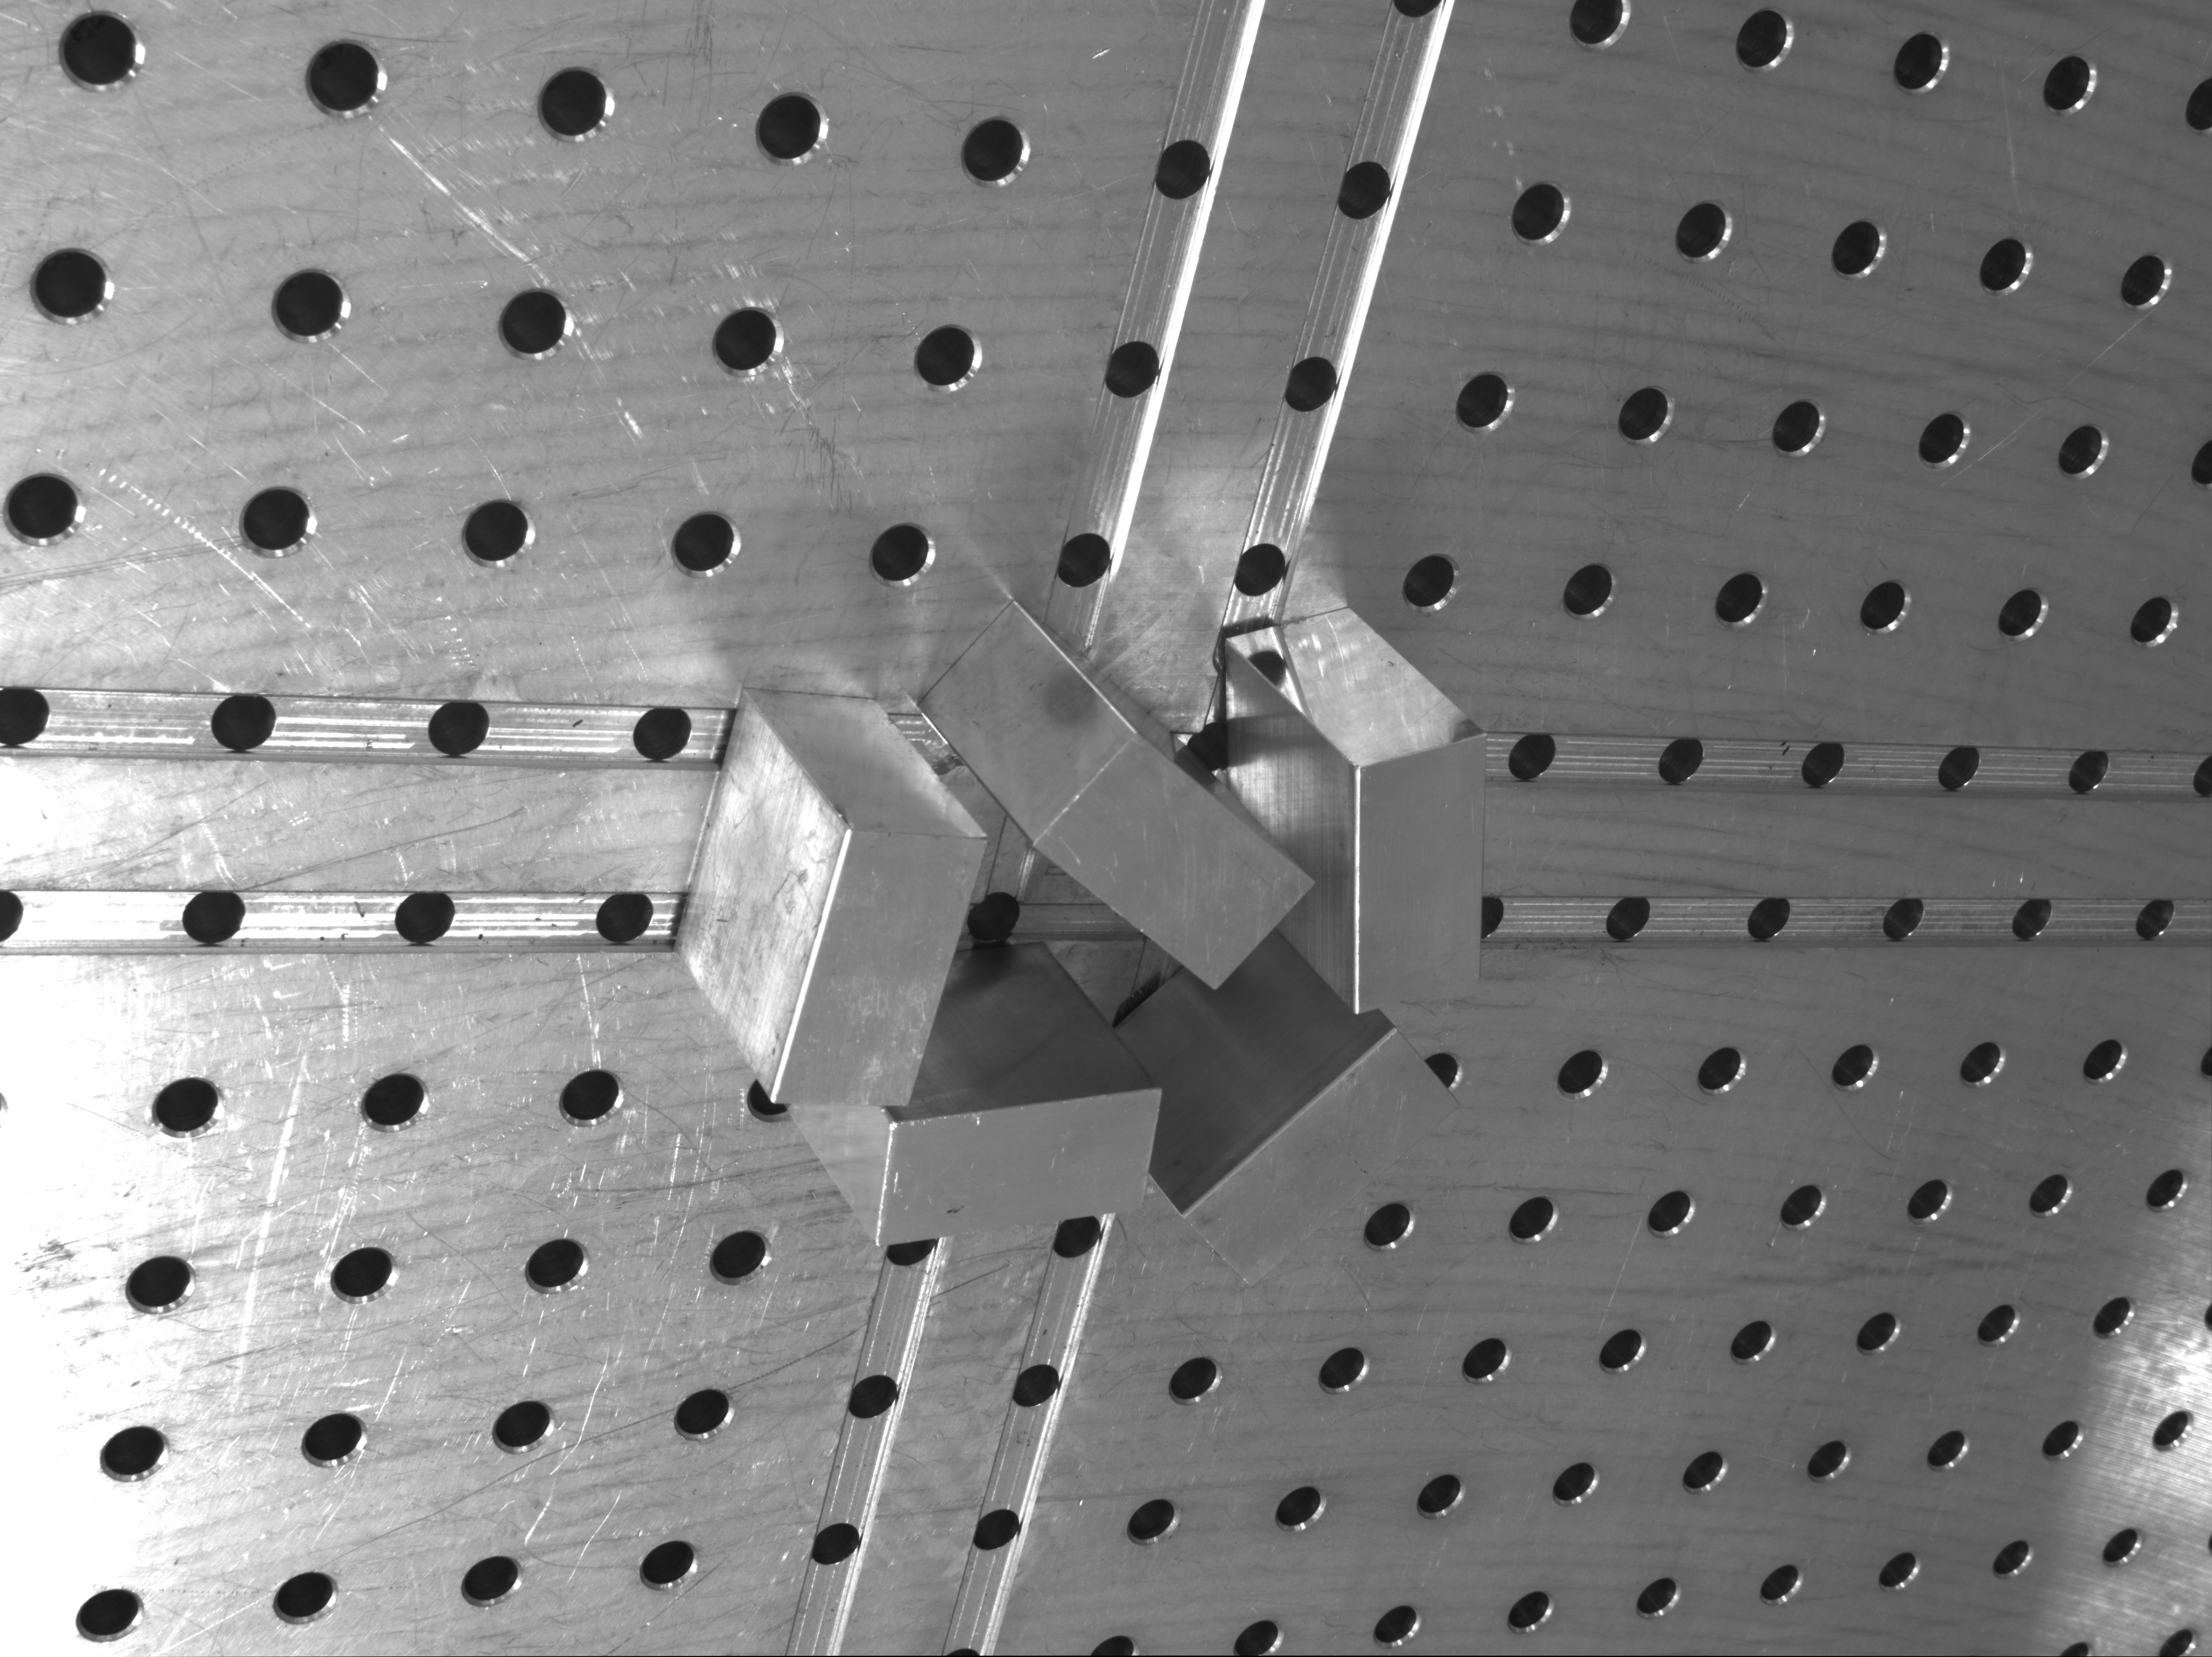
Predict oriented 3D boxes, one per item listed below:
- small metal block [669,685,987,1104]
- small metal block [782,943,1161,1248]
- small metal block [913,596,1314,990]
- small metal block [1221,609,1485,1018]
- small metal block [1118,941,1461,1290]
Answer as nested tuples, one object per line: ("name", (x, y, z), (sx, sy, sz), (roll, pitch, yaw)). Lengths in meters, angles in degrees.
("small metal block", (-0.047, 0.011, 0.606), (0.025, 0.050, 0.050), (4, 117, -29))
("small metal block", (-0.025, 0.045, 0.638), (0.050, 0.050, 0.025), (-5, 120, -26))
("small metal block", (0.001, -0.006, 0.621), (0.025, 0.050, 0.050), (-47, 129, 5))
("small metal block", (0.043, -0.003, 0.645), (0.025, 0.050, 0.050), (-15, 124, -20))
("small metal block", (0.028, 0.047, 0.667), (0.050, 0.050, 0.025), (-41, 128, 0))
